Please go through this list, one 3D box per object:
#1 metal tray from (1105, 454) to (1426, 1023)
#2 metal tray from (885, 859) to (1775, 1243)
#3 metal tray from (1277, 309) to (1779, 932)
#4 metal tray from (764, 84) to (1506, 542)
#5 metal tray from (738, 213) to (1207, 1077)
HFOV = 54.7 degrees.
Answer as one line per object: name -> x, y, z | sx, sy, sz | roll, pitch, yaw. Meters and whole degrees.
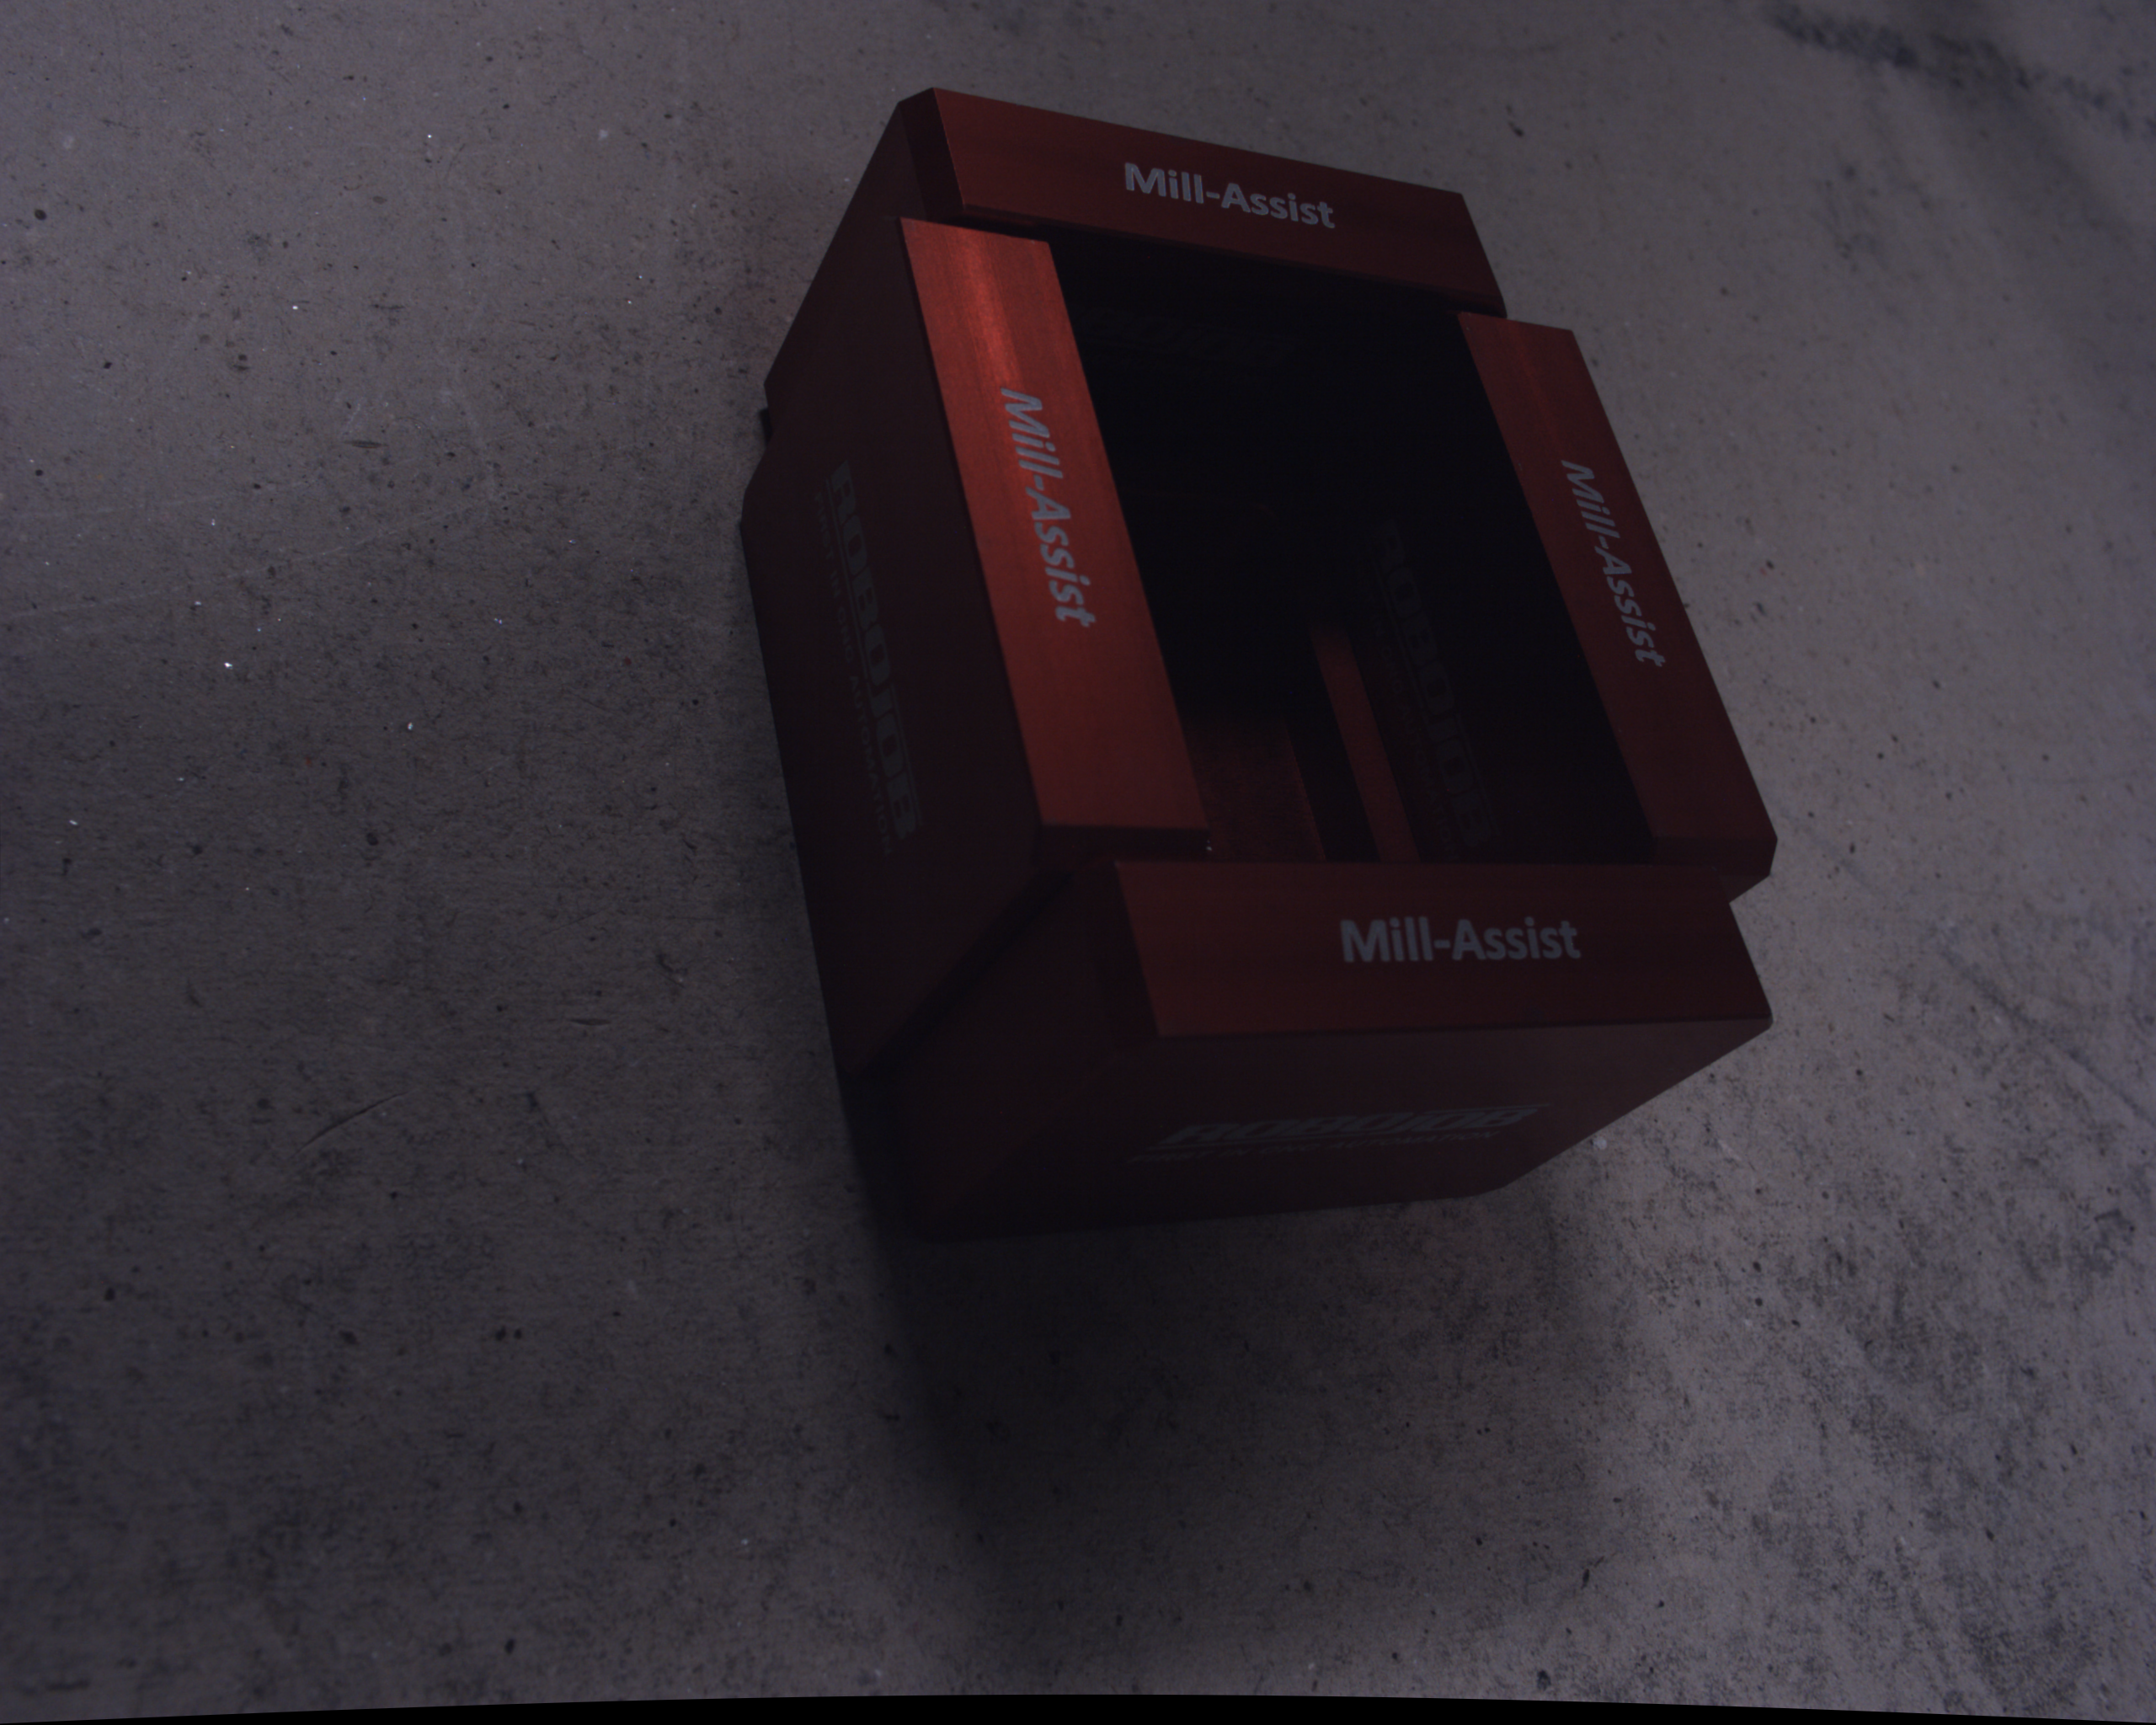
metal tray -> 0.016, -0.023, 0.426 | 0.091, 0.030, 0.130 | 1, 61, -28
metal tray -> 0.043, 0.034, 0.367 | 0.131, 0.090, 0.030 | 1, 62, -28
metal tray -> 0.083, -0.036, 0.432 | 0.030, 0.090, 0.130 | 1, 61, -28
metal tray -> 0.011, -0.107, 0.436 | 0.131, 0.090, 0.030 | 1, 62, -28
metal tray -> -0.025, -0.037, 0.374 | 0.030, 0.090, 0.130 | 1, 61, -28
